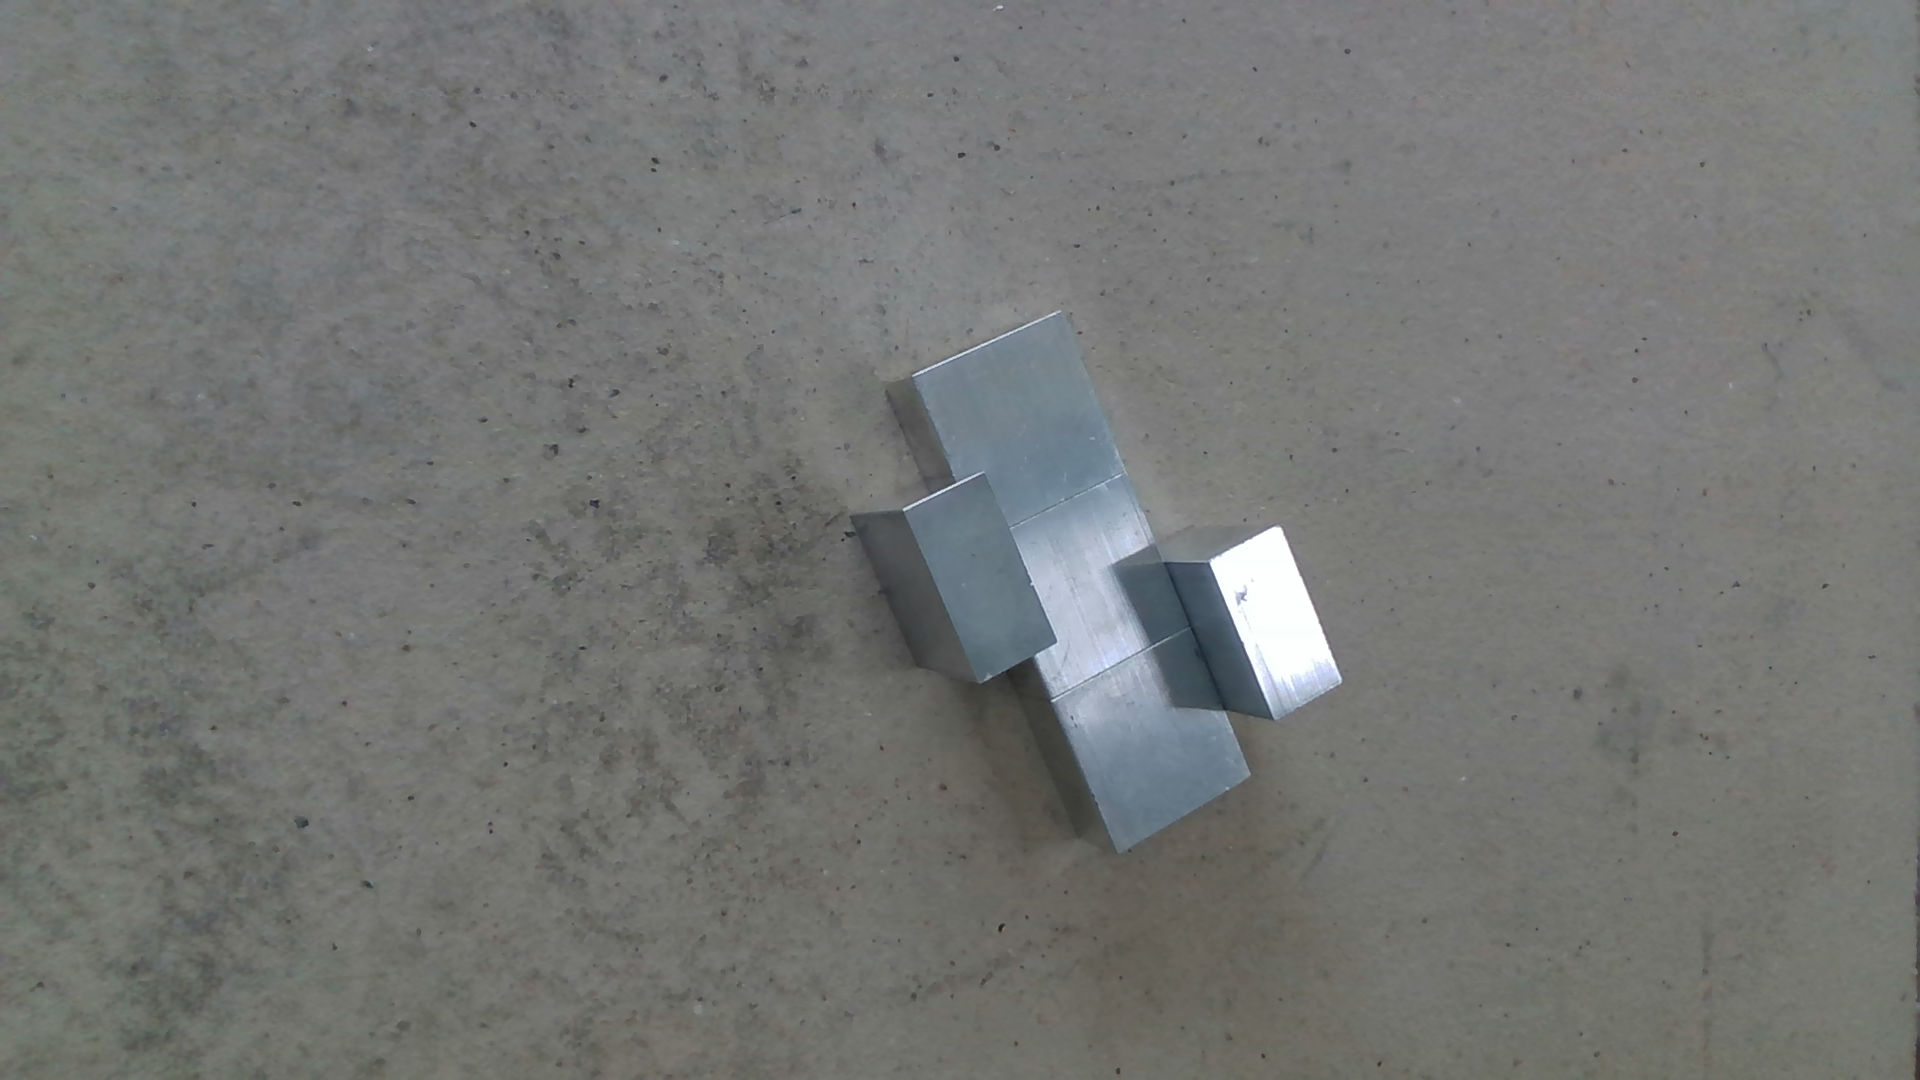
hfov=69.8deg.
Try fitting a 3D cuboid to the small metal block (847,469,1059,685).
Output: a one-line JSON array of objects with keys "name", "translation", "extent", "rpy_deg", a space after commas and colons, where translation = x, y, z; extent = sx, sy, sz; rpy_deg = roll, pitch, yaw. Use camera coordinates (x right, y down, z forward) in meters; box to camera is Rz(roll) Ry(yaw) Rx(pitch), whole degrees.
[{"name": "small metal block", "translation": [-0.003, 0.010, 0.380], "extent": [0.025, 0.050, 0.050], "rpy_deg": [-27, 98, -19]}]

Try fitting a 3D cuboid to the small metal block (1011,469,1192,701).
[{"name": "small metal block", "translation": [0.033, 0.013, 0.406], "extent": [0.050, 0.025, 0.050], "rpy_deg": [-26, 99, -18]}]

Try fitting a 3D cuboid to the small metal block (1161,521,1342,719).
[{"name": "small metal block", "translation": [0.080, 0.023, 0.411], "extent": [0.025, 0.050, 0.050], "rpy_deg": [-26, 98, -18]}]

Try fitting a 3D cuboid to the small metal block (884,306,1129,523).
[{"name": "small metal block", "translation": [0.013, -0.033, 0.398], "extent": [0.050, 0.025, 0.050], "rpy_deg": [-26, 99, -18]}]

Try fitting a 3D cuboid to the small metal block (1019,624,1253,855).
[{"name": "small metal block", "translation": [0.053, 0.058, 0.413], "extent": [0.050, 0.025, 0.050], "rpy_deg": [-26, 99, -18]}]
